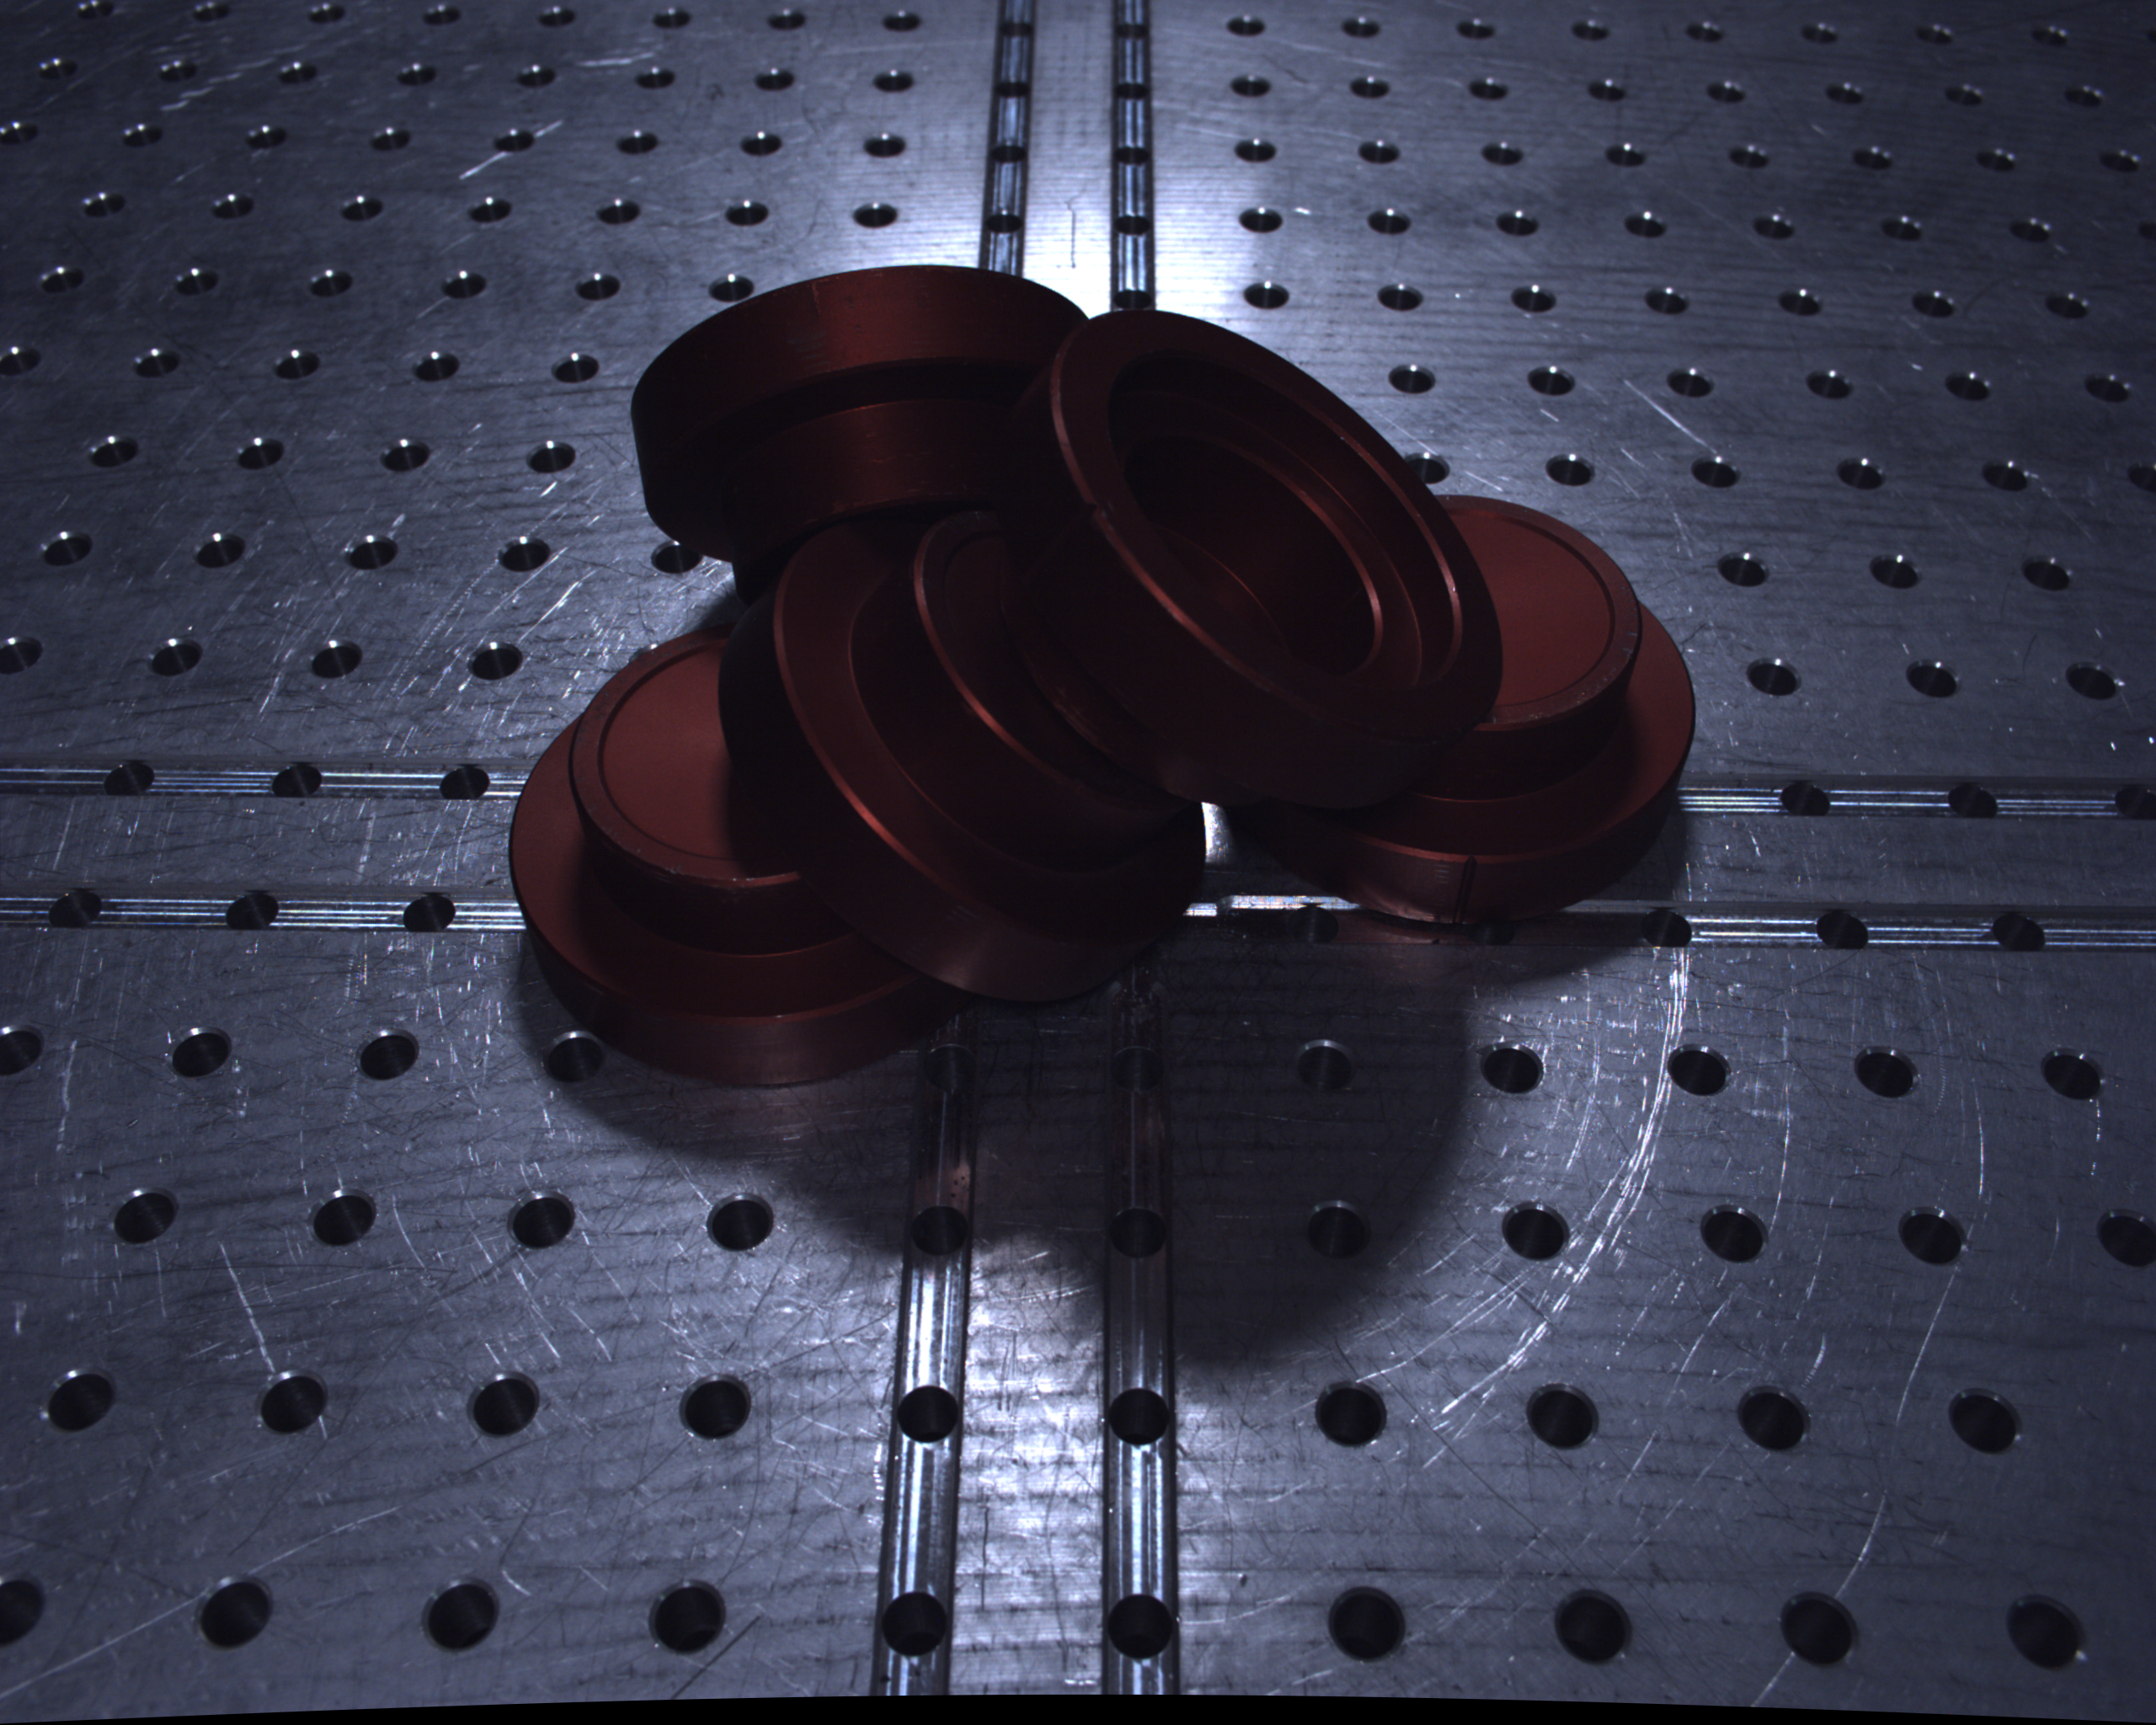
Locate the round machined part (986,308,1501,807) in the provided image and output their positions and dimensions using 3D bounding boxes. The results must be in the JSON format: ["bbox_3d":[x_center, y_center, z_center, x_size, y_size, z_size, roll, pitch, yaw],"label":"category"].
[{"bbox_3d":[0.025,-0.050,0.376,0.099,0.042,0.098,24,43,-24],"label":"round machined part"}]

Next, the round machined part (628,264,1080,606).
[{"bbox_3d":[-0.041,-0.080,0.433,0.099,0.098,0.042,-10,77,-8],"label":"round machined part"}]

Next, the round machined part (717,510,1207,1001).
[{"bbox_3d":[-0.013,-0.026,0.388,0.098,0.042,0.098,28,39,-25],"label":"round machined part"}]

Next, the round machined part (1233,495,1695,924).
[{"bbox_3d":[0.077,-0.038,0.429,0.099,0.042,0.098,0,50,0],"label":"round machined part"}]

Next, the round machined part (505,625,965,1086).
[{"bbox_3d":[-0.061,-0.009,0.403,0.099,0.042,0.098,0,50,0],"label":"round machined part"}]
